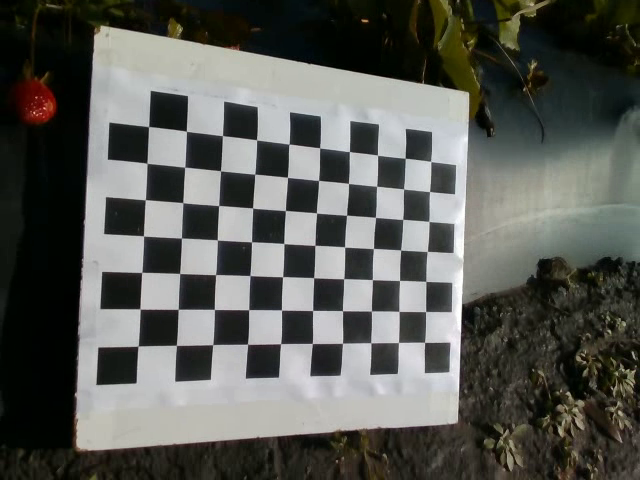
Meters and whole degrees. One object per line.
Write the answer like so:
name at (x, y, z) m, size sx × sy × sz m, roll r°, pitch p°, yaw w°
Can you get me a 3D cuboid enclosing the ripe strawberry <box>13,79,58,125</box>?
ripe strawberry at (-0.156, -0.072, 0.318) m, size 0.034 × 0.033 × 0.038 m, roll 2°, pitch 35°, yaw -22°
